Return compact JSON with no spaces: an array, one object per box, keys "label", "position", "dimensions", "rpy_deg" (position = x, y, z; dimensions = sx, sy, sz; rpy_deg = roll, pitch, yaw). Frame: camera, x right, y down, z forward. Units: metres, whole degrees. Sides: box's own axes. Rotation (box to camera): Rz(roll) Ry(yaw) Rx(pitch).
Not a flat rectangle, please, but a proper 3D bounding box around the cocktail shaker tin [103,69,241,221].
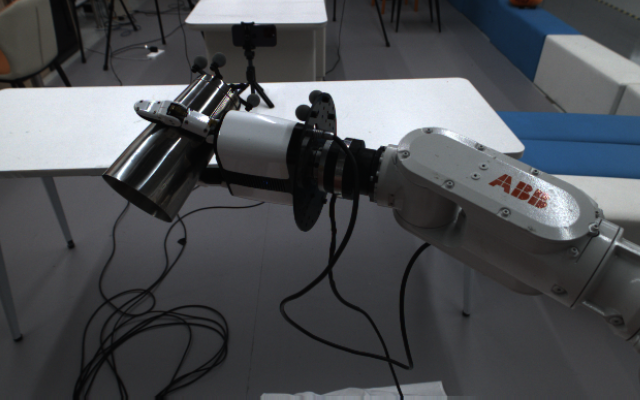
[{"label":"cocktail shaker tin","position":[-0.167,-0.072,0.582],"dimensions":[0.093,0.093,0.170],"rpy_deg":[20,67,24]}]
